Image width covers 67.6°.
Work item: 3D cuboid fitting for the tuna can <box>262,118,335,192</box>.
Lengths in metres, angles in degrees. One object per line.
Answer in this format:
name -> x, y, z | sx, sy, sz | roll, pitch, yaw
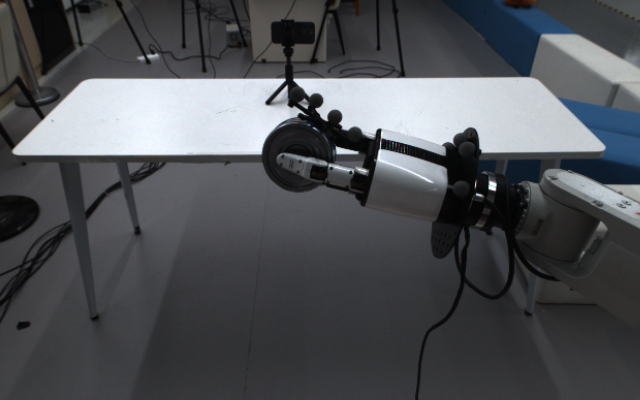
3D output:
tuna can -> -0.024, -0.054, 0.575 | 0.085, 0.085, 0.034 | 6, 19, 6
